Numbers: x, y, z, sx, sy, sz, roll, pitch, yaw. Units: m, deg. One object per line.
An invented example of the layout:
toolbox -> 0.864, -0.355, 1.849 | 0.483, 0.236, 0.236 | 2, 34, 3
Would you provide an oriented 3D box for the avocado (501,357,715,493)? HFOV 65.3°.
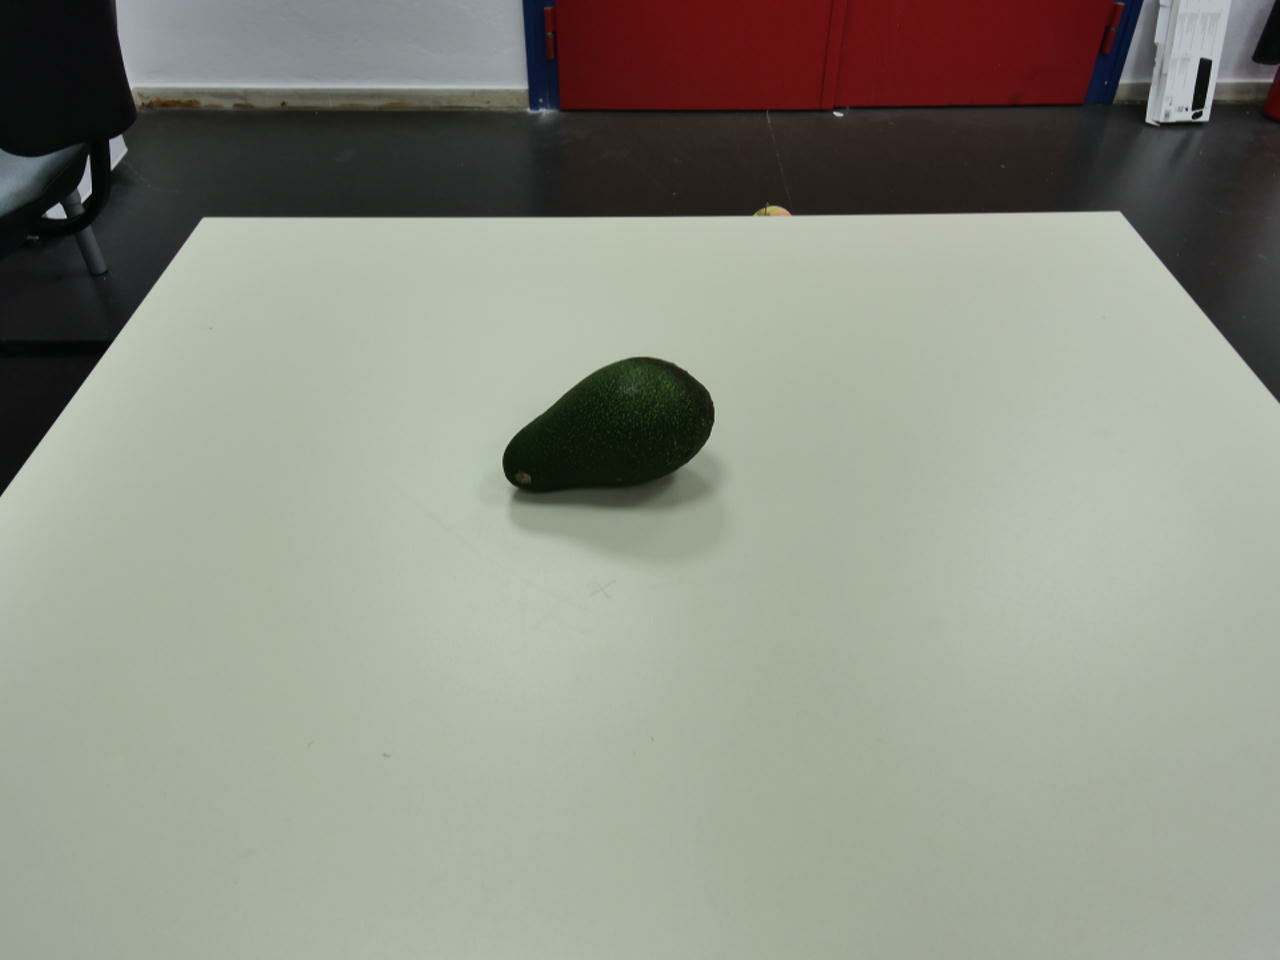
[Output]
avocado -> -0.017, -0.036, 0.588 | 0.123, 0.076, 0.074 | 4, 39, 5
